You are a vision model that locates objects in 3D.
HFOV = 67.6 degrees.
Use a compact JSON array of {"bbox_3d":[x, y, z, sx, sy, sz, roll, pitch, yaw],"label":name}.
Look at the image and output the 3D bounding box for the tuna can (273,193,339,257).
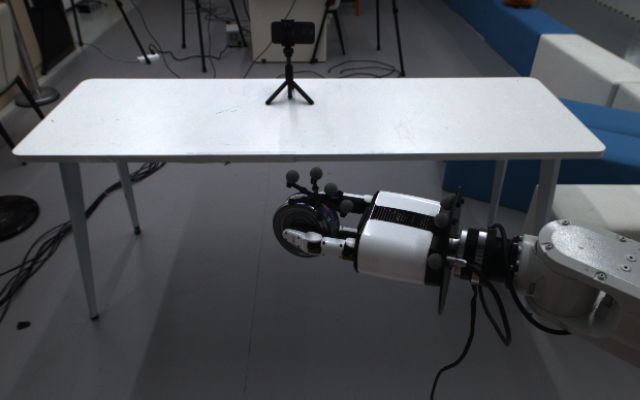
[{"bbox_3d":[-0.016,0.040,0.644,0.085,0.085,0.034,15,31,18],"label":"tuna can"}]
